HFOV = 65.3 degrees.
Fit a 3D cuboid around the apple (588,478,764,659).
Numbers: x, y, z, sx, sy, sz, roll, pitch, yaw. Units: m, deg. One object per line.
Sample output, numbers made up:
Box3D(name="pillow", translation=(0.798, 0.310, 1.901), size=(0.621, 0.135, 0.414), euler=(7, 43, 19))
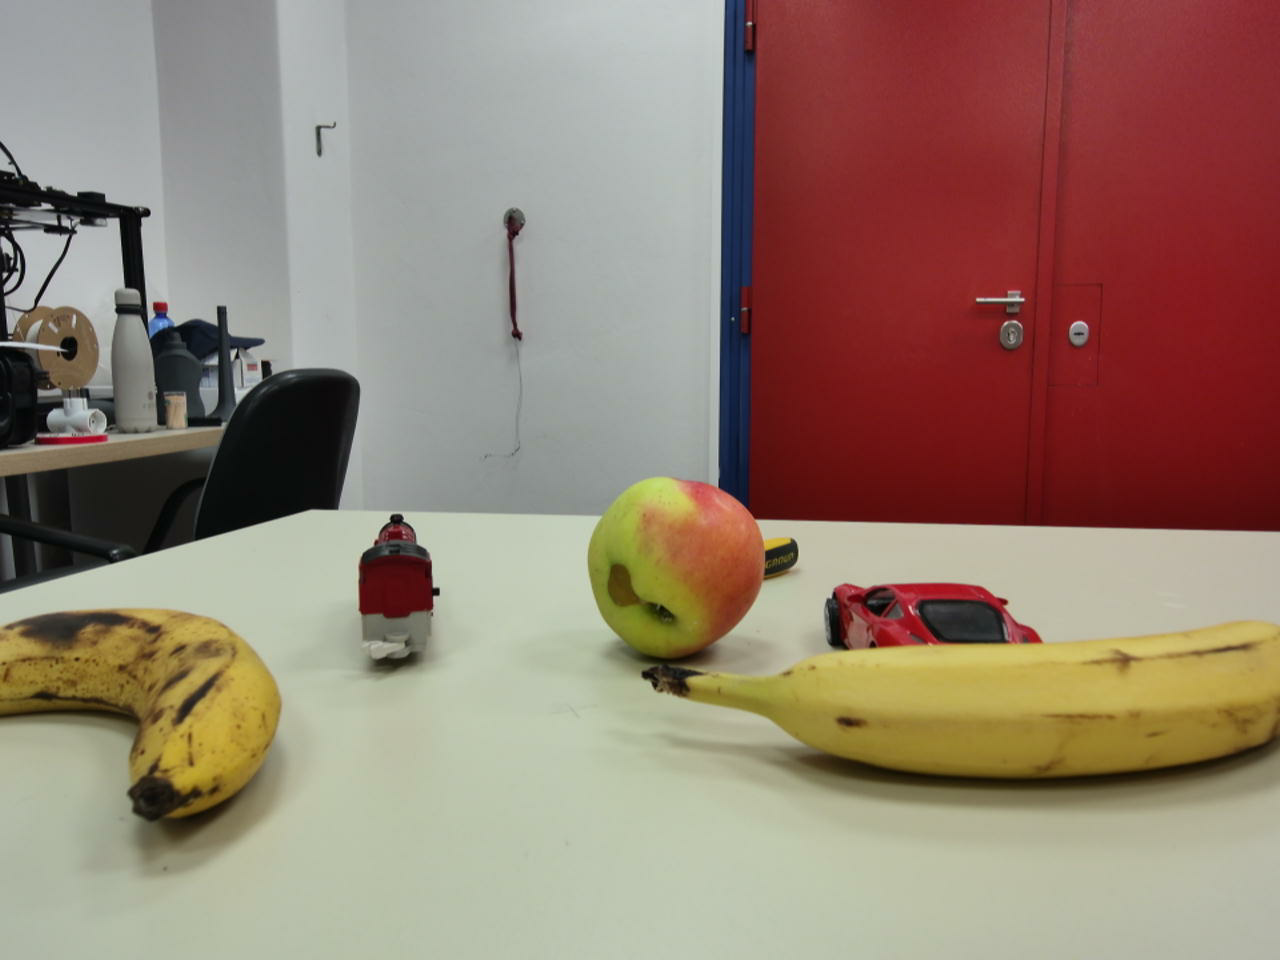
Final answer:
Box3D(name="apple", translation=(0.016, 0.037, 0.425), size=(0.075, 0.074, 0.075), euler=(-1, 4, -8))
